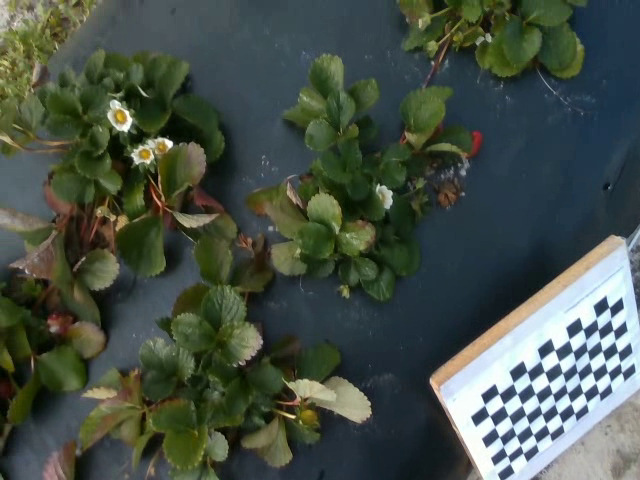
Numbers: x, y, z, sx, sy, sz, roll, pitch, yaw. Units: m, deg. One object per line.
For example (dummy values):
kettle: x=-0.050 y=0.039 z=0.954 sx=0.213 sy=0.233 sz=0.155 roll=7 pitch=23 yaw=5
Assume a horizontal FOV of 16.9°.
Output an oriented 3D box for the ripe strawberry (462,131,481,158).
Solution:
ripe strawberry: x=0.108 y=-0.072 z=1.582 sx=0.021 sy=0.027 sz=0.021 roll=45 pitch=6 yaw=34
